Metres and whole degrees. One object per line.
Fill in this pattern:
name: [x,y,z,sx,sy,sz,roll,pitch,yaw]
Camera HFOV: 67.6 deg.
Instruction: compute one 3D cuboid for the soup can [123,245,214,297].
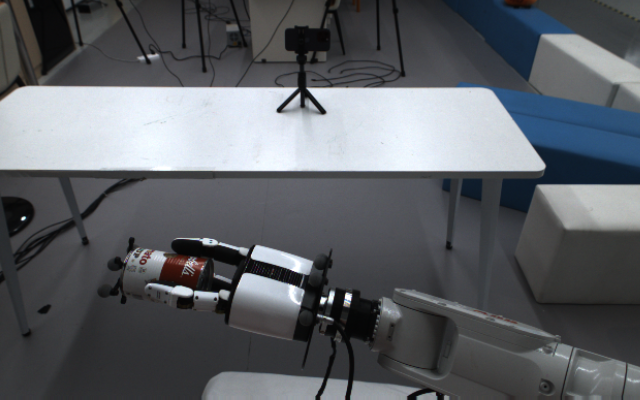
soup can: [-0.196,0.104,0.634,0.101,0.067,0.067,9,35,2]
